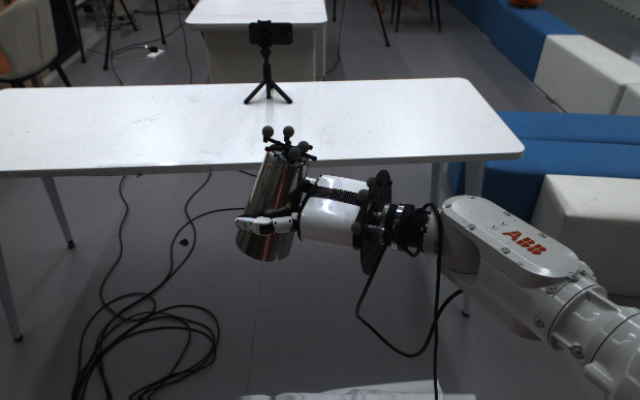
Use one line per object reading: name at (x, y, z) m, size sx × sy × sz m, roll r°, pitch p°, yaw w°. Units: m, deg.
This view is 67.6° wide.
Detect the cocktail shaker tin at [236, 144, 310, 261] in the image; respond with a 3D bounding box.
cocktail shaker tin at (-0.070, -0.002, 0.760) m, size 0.093 × 0.170 × 0.093 m, roll 15°, pitch 27°, yaw -8°
